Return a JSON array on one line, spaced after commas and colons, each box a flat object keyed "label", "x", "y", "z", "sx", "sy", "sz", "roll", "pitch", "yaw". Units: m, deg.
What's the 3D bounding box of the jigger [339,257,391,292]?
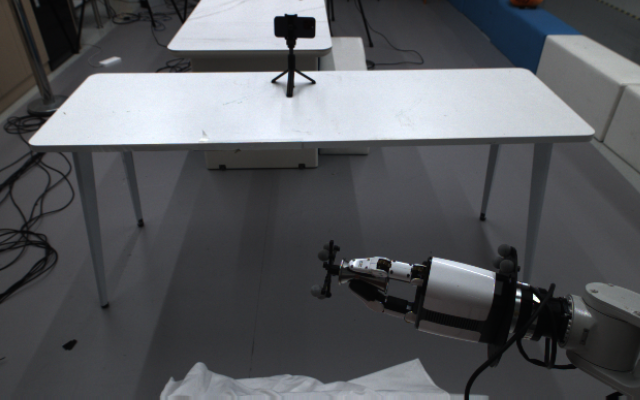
[{"label": "jigger", "x": 0.070, "y": 0.102, "z": 0.687, "sx": 0.071, "sy": 0.043, "sz": 0.043, "roll": 7, "pitch": 35, "yaw": 12}]
